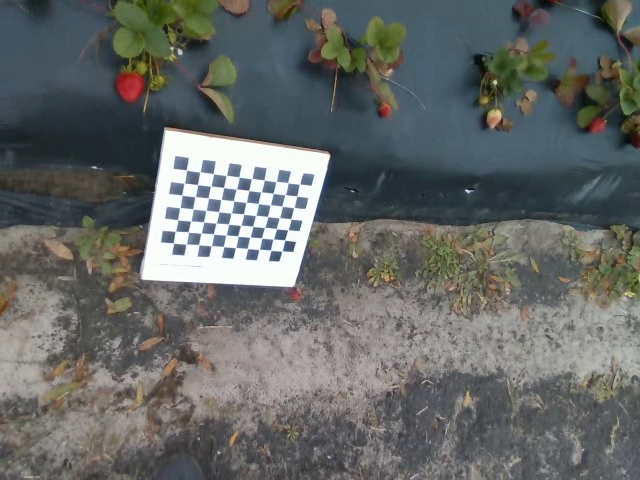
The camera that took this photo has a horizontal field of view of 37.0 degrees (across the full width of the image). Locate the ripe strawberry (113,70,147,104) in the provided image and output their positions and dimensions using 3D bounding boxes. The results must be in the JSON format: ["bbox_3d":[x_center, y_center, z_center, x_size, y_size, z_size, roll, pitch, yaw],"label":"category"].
[{"bbox_3d":[-0.090,-0.072,0.461,0.018,0.017,0.014,8,-22,-33],"label":"ripe strawberry"}]
